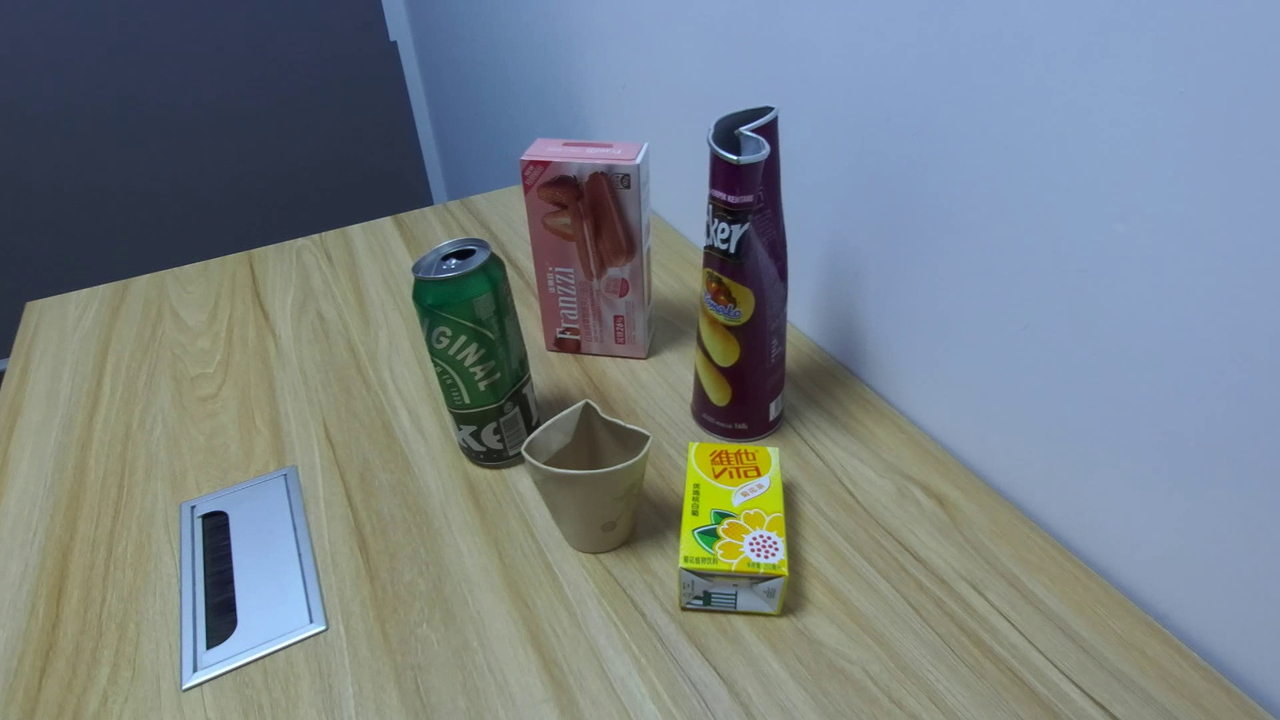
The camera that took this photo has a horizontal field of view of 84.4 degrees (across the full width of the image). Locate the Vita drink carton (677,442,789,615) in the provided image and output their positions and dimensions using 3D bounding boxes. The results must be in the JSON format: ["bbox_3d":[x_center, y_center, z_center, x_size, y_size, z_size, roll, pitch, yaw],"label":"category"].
[{"bbox_3d":[0.061,0.107,0.466,0.066,0.043,0.109,4,37,4],"label":"Vita drink carton"}]

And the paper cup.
[{"bbox_3d":[-0.032,0.083,0.471,0.071,0.084,0.066,25,46,33],"label":"paper cup"}]

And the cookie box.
[{"bbox_3d":[-0.040,-0.091,0.610,0.096,0.185,0.048,5,36,10],"label":"cookie box"}]

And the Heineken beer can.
[{"bbox_3d":[-0.118,-0.001,0.522,0.068,0.169,0.069,-21,36,-18],"label":"Heineken beer can"}]

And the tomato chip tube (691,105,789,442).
[{"bbox_3d":[0.078,-0.051,0.511,0.078,0.235,0.076,-18,40,-18],"label":"tomato chip tube"}]
